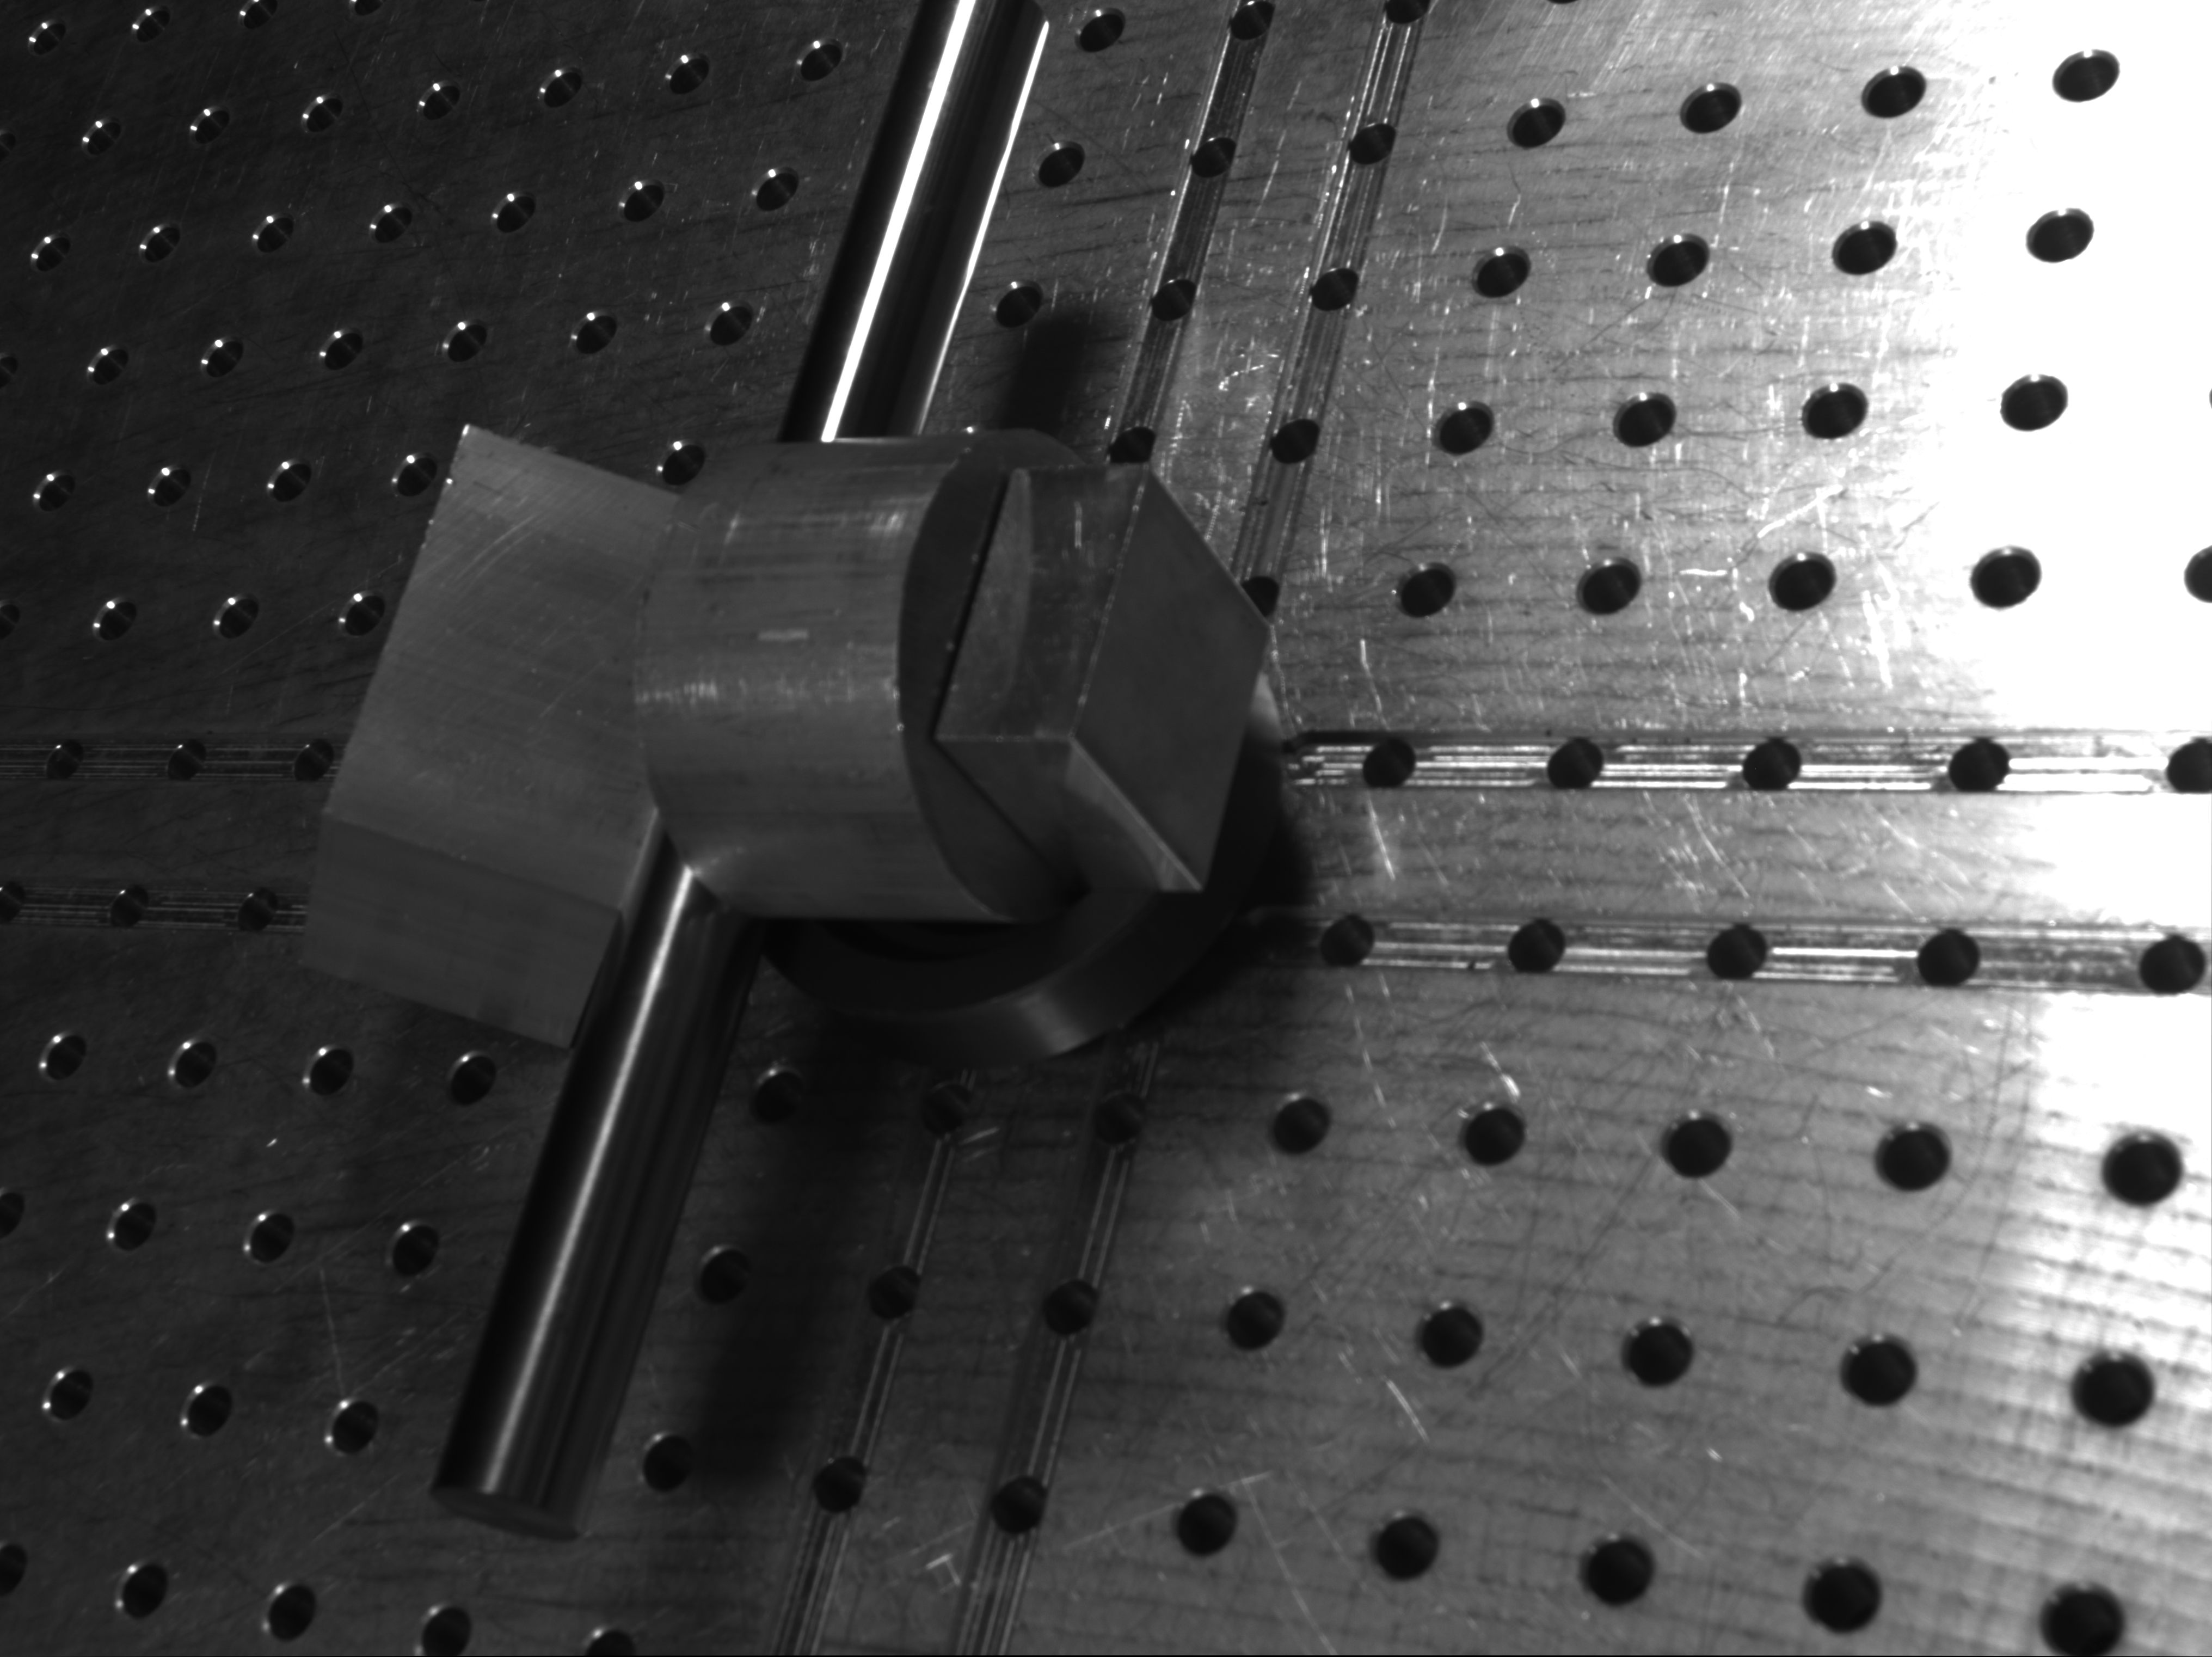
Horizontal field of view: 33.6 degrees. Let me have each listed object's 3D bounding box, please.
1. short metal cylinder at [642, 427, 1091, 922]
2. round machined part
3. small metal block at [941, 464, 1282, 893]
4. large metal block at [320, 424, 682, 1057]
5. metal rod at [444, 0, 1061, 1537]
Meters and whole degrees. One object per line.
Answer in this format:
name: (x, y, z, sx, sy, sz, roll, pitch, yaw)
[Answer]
short metal cylinder: (-0.033, -0.025, 0.606, 0.050, 0.080, 0.080, 1, 62, 29)
round machined part: (-0.012, -0.002, 0.642, 0.098, 0.042, 0.098, -13, 56, 21)
small metal block: (0.002, -0.024, 0.590, 0.025, 0.050, 0.050, 1, 62, 29)
large metal block: (-0.104, -0.014, 0.669, 0.050, 0.080, 0.080, 19, 65, -8)
metal rod: (-0.057, -0.024, 0.639, 0.025, 0.025, 0.300, 1, 62, 29)
